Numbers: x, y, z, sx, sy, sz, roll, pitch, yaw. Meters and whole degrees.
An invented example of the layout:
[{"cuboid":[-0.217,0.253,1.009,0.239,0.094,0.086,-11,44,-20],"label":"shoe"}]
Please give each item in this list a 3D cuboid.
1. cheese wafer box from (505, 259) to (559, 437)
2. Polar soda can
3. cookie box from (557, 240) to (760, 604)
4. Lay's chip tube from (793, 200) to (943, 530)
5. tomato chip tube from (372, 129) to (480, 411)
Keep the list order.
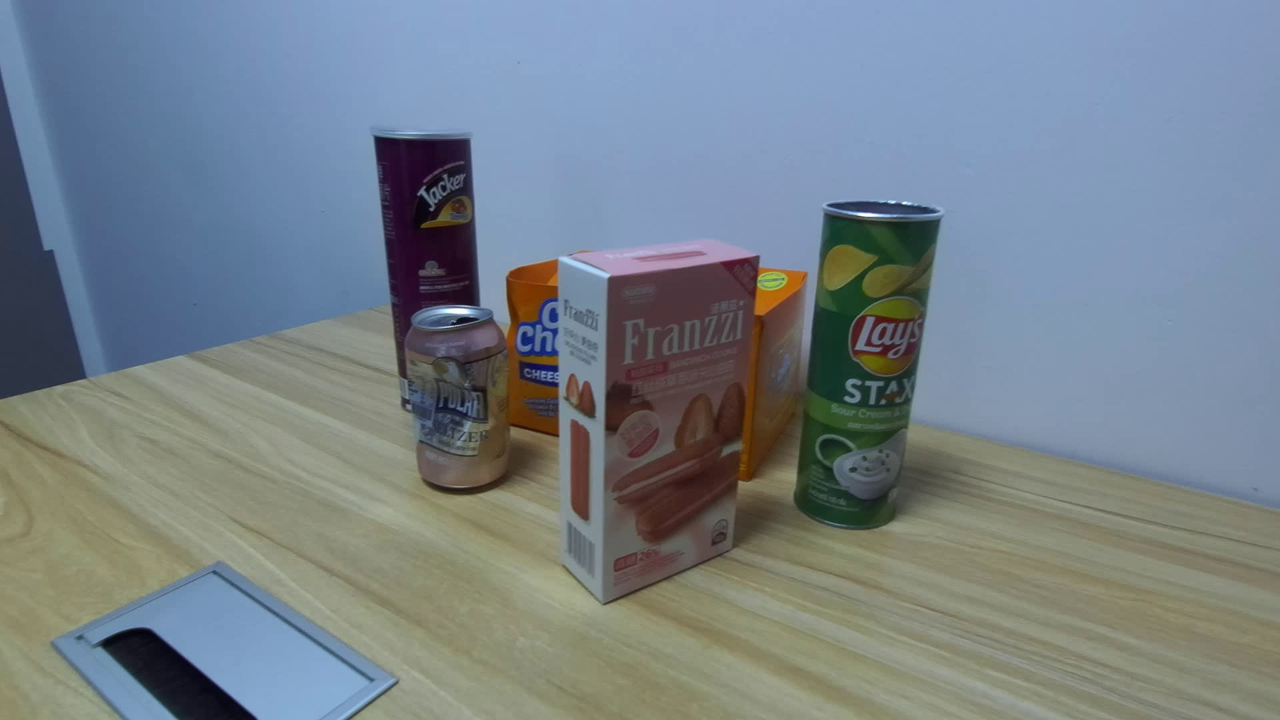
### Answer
[{"cuboid":[0.010,-0.009,0.602,0.229,0.132,0.153,10,23,27],"label":"cheese wafer box"},{"cuboid":[-0.127,0.028,0.499,0.067,0.122,0.074,-8,19,-22],"label":"Polar soda can"},{"cuboid":[0.009,0.033,0.390,0.096,0.184,0.048,-12,25,-33],"label":"cookie box"},{"cuboid":[0.142,0.003,0.451,0.071,0.202,0.071,1,20,0],"label":"Lay's chip tube"},{"cuboid":[-0.177,-0.071,0.608,0.078,0.234,0.078,0,14,0],"label":"tomato chip tube"}]
